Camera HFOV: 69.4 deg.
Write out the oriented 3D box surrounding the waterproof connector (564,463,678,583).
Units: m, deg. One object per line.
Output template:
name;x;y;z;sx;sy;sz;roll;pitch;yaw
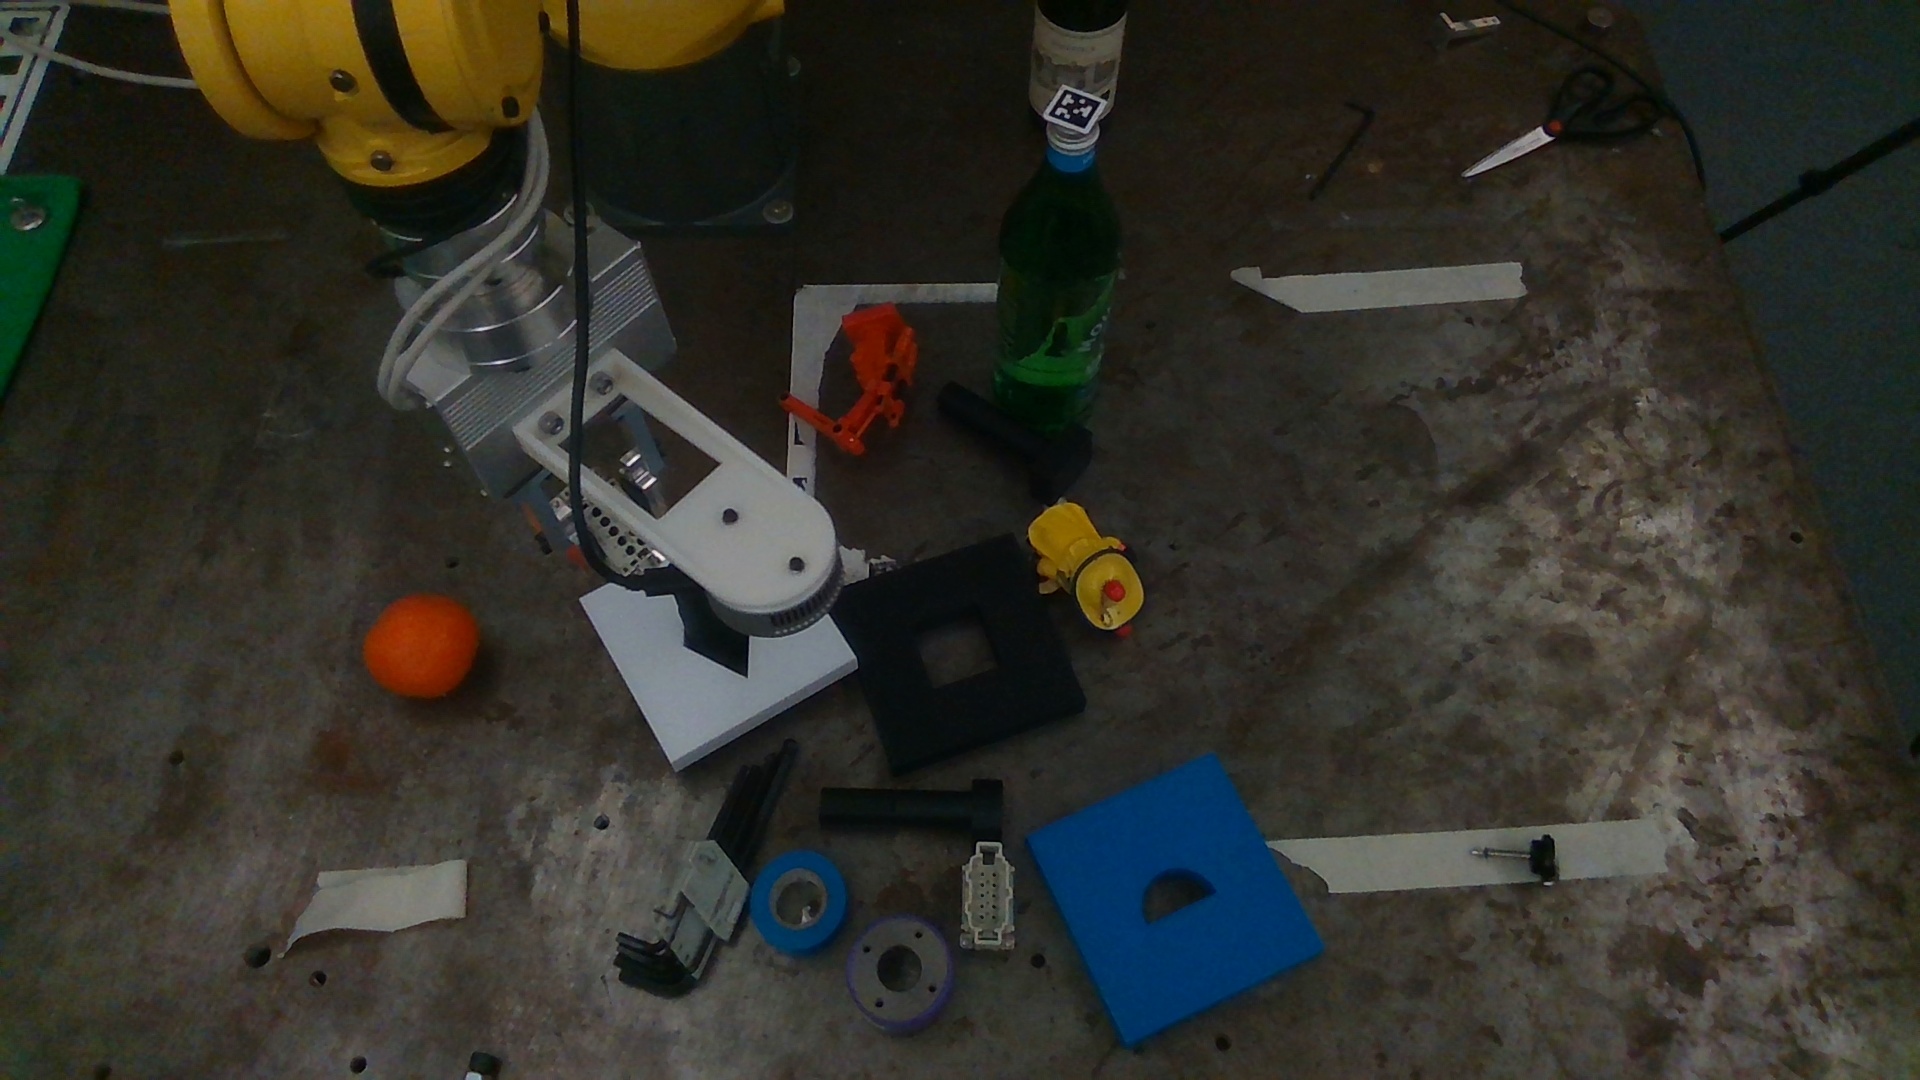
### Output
waterproof connector;-0.198;-0.009;0.807;0.036;0.039;0.069;-44;105;-26
